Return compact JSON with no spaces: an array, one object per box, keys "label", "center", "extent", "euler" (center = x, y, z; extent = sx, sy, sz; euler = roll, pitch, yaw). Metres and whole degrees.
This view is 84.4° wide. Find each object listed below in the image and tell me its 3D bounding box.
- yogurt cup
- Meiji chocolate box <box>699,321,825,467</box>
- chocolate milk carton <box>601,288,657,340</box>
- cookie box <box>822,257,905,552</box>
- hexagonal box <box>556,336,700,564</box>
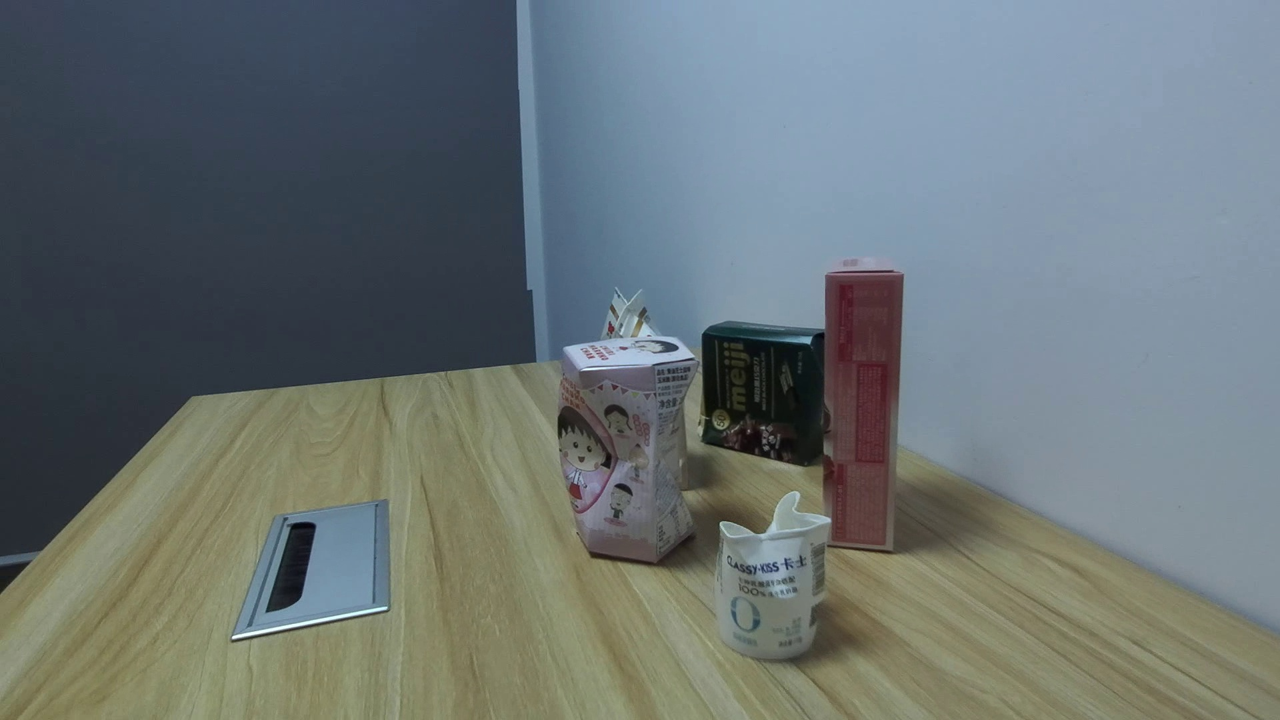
[{"label":"yogurt cup","center":[0.069,0.113,0.374],"extent":[0.055,0.072,0.055],"euler":[-4,18,-8]},{"label":"Meiji chocolate box","center":[0.114,0.025,0.638],"extent":[0.122,0.116,0.059],"euler":[9,19,35]},{"label":"chocolate milk carton","center":[-0.001,0.021,0.581],"extent":[0.073,0.155,0.076],"euler":[0,22,5]},{"label":"cookie box","center":[0.152,0.027,0.486],"extent":[0.048,0.184,0.096],"euler":[1,14,16]},{"label":"hexagonal box","center":[-0.006,0.056,0.481],"extent":[0.088,0.134,0.093],"euler":[10,19,36]}]
